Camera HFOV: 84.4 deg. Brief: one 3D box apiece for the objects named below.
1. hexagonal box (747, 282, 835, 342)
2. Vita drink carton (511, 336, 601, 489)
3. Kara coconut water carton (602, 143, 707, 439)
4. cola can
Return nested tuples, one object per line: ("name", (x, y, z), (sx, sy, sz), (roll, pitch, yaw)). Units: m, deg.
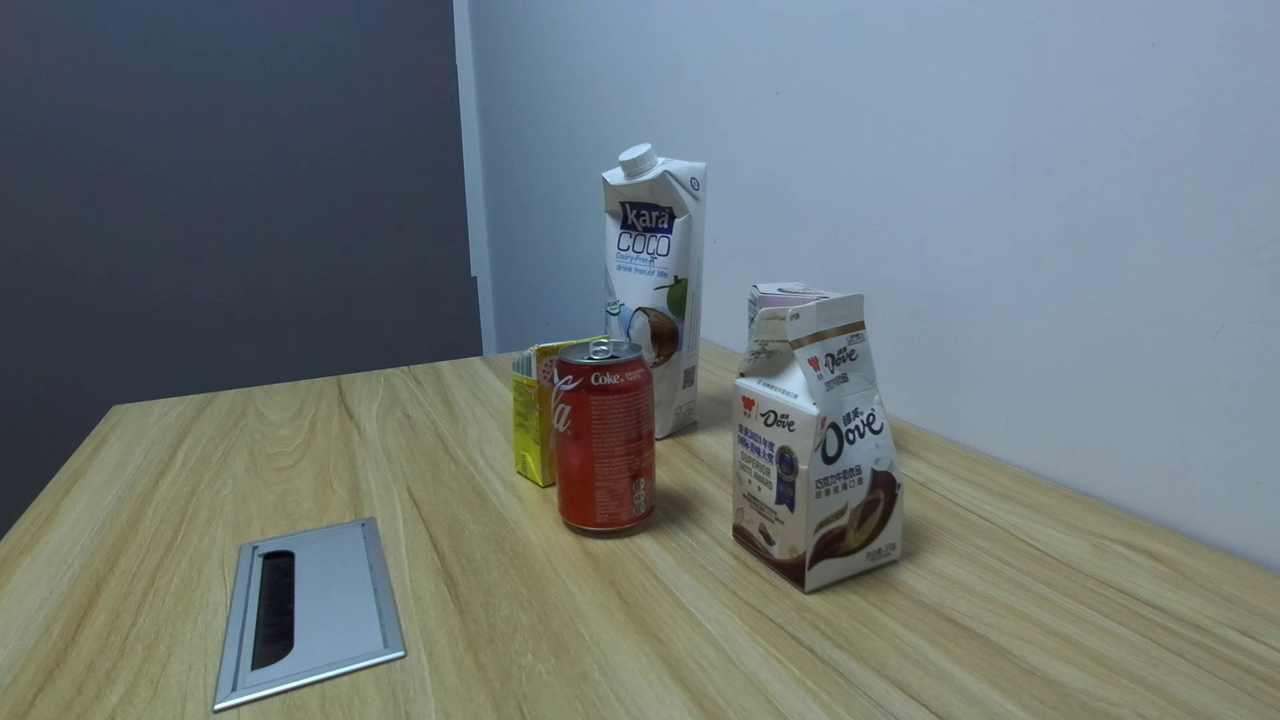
("hexagonal box", (0.123, 0.010, 0.556), (0.091, 0.135, 0.085), (13, 20, 40))
("Vita drink carton", (-0.060, 0.033, 0.536), (0.071, 0.109, 0.046), (-11, 19, -36))
("Kara coconut water carton", (0.012, -0.058, 0.608), (0.099, 0.244, 0.071), (9, 17, 37))
("cola can", (-0.024, 0.048, 0.461), (0.068, 0.120, 0.068), (-2, 16, 1))
